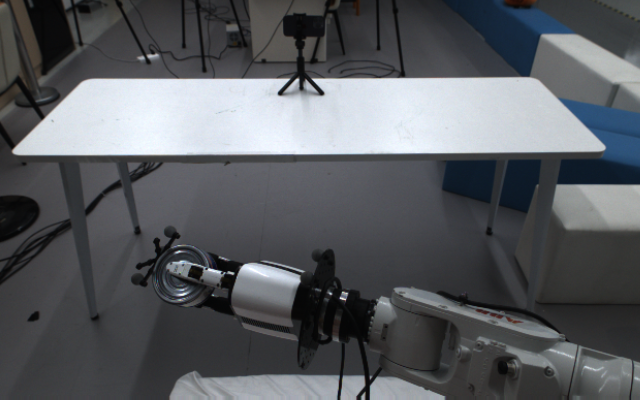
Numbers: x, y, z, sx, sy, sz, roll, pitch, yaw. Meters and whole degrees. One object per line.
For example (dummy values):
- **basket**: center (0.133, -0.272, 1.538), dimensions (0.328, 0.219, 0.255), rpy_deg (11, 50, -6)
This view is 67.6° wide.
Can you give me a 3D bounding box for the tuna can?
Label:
- **tuna can**: center (-0.186, 0.110, 0.675), dimensions (0.085, 0.034, 0.085), rpy_deg (-2, 73, 6)
